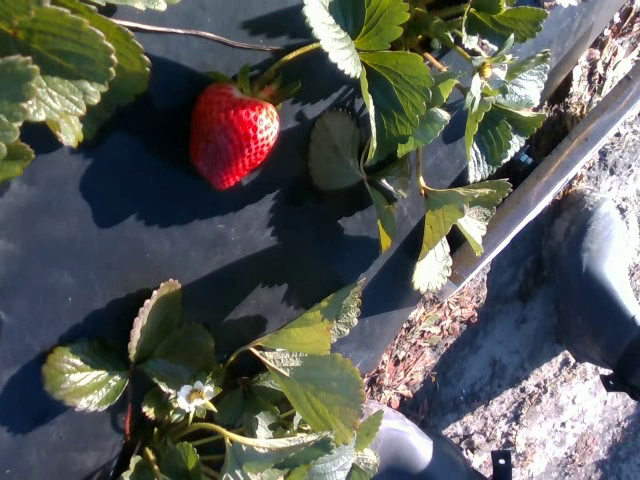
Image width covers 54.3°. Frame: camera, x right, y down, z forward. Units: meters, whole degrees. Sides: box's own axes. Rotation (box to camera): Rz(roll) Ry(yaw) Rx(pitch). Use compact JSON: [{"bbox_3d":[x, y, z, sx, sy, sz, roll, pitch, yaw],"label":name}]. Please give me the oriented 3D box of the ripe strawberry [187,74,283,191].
[{"bbox_3d":[-0.039,-0.046,0.268,0.044,0.056,0.041,22,3,9],"label":"ripe strawberry"}]
